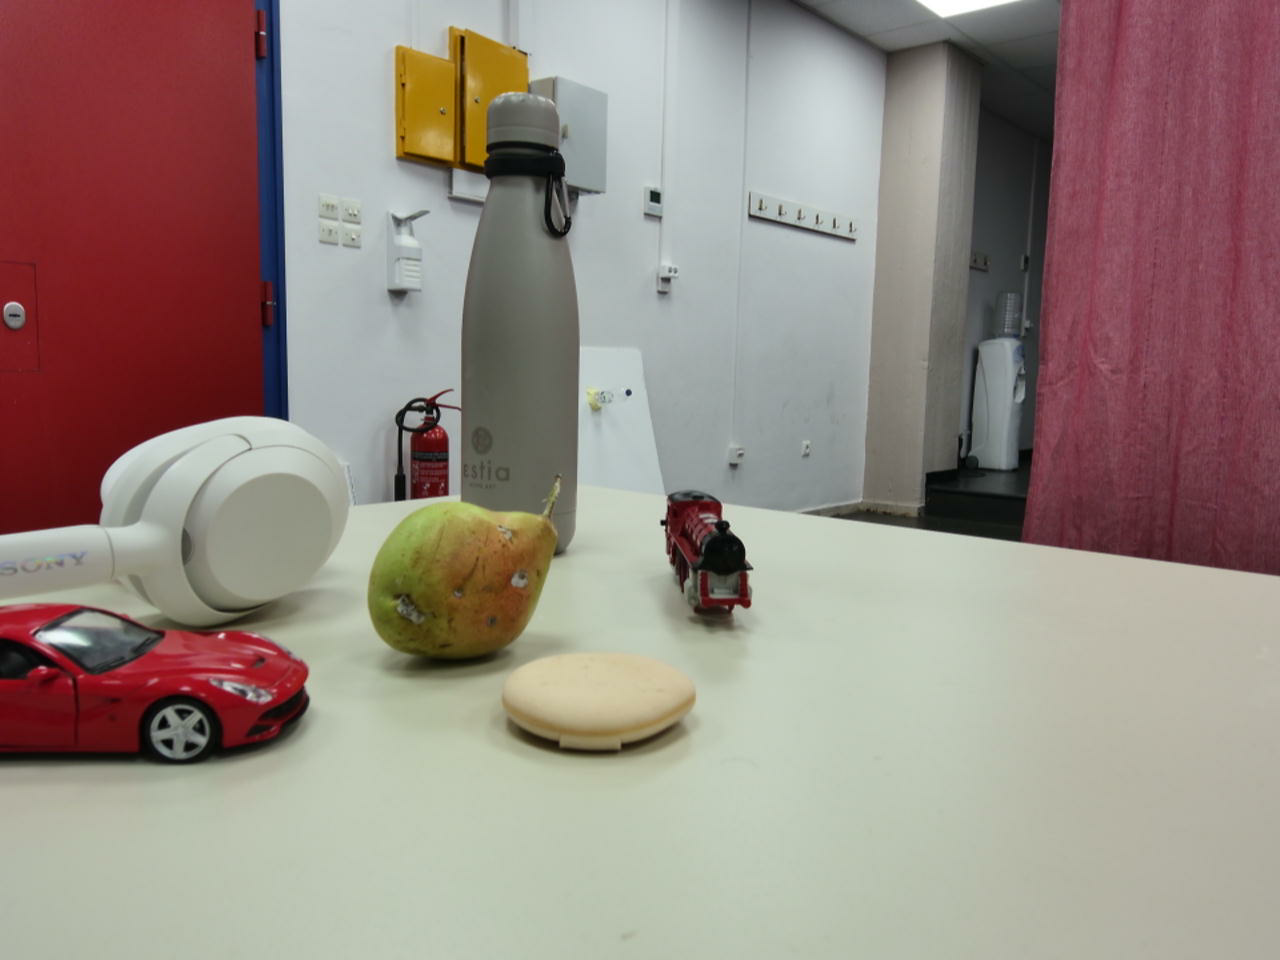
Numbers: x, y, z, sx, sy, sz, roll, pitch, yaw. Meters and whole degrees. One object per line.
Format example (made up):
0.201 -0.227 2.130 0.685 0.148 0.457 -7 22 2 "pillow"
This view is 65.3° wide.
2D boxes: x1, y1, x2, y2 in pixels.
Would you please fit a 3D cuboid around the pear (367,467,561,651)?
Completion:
-0.070 0.032 0.399 0.070 0.069 0.068 0 4 1 "pear"
